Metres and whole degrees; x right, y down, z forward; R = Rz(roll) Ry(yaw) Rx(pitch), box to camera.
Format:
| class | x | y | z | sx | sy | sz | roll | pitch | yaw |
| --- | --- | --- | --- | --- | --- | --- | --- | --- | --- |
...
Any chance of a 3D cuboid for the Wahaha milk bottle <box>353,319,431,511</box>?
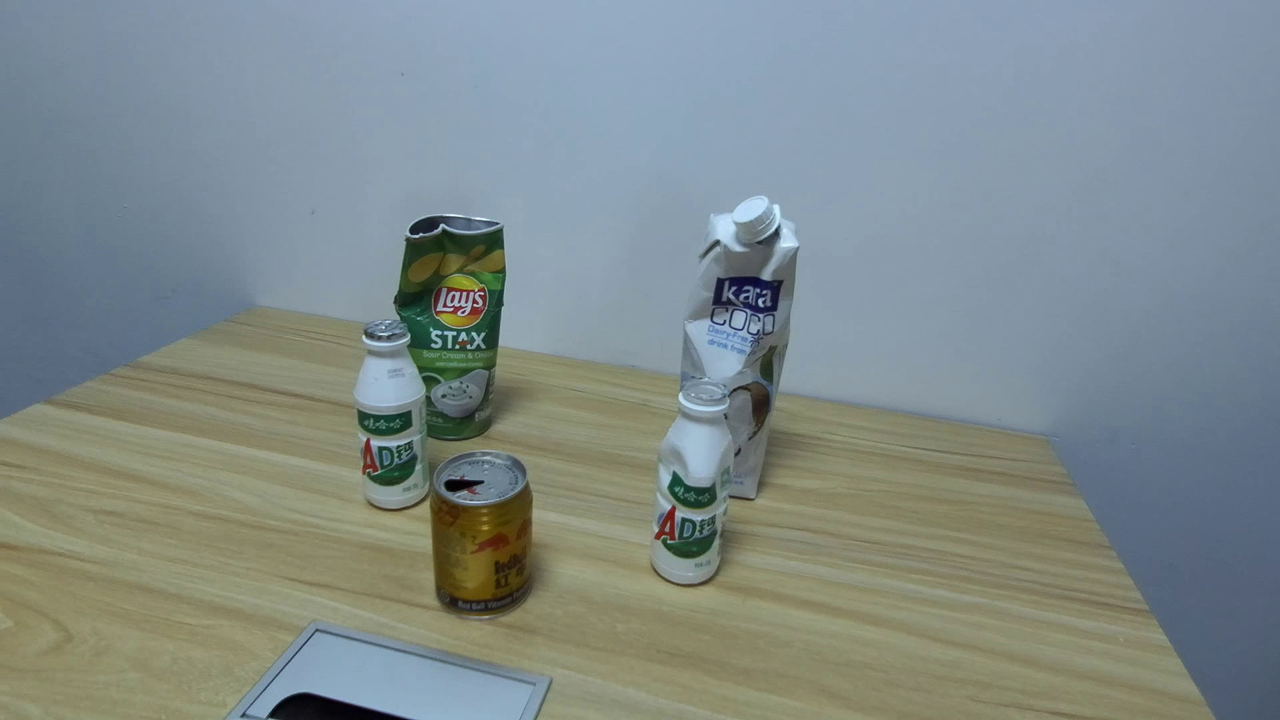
| class | x | y | z | sx | sy | sz | roll | pitch | yaw |
| --- | --- | --- | --- | --- | --- | --- | --- | --- | --- |
| Wahaha milk bottle | -0.194 | 0.044 | 0.553 | 0.053 | 0.147 | 0.053 | 3 | 24 | -1 |

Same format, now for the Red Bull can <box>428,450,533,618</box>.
| class | x | y | z | sx | sy | sz | roll | pitch | yaw |
| --- | --- | --- | --- | --- | --- | --- | --- | --- | --- |
| Red Bull can | -0.105 | 0.116 | 0.474 | 0.067 | 0.093 | 0.067 | 4 | 24 | -2 |

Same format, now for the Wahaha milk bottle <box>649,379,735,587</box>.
| class | x | y | z | sx | sy | sz | roll | pitch | yaw |
| --- | --- | --- | --- | --- | --- | --- | --- | --- | --- |
| Wahaha milk bottle | 0.037 | 0.085 | 0.494 | 0.055 | 0.149 | 0.055 | 3 | 27 | -1 |

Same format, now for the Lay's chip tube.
| class | x | y | z | sx | sy | sz | roll | pitch | yaw |
| --- | --- | --- | --- | --- | --- | --- | --- | --- | --- |
| Lay's chip tube | -0.172 | -0.029 | 0.649 | 0.069 | 0.201 | 0.077 | 23 | 33 | 35 |
